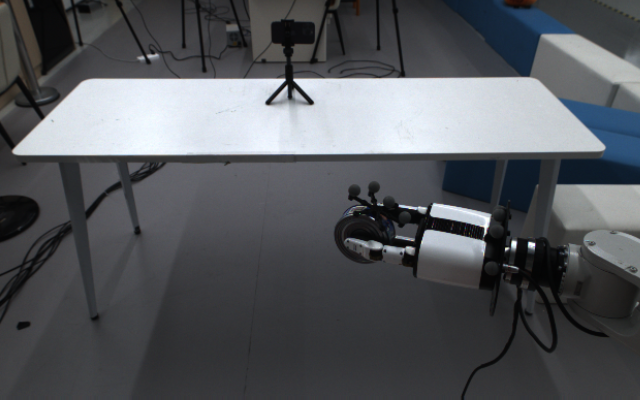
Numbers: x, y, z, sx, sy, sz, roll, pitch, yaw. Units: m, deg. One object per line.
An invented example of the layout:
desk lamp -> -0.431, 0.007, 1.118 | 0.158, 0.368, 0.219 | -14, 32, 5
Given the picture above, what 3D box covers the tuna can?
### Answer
tuna can -> 0.068, 0.057, 0.707 | 0.085, 0.085, 0.034 | 15, 31, 18
